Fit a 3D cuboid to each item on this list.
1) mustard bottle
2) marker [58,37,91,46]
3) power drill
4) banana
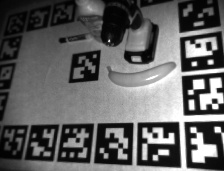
[{"bbox_3d":[-0.045,-0.174,0.608,0.095,0.194,0.058,7,75,23],"label":"mustard bottle"},{"bbox_3d":[-0.129,-0.148,0.731,0.120,0.020,0.019,-3,73,21],"label":"marker"},{"bbox_3d":[0.044,-0.126,0.538,0.057,0.189,0.184,10,74,23],"label":"power drill"},{"bbox_3d":[0.067,-0.013,0.601,0.195,0.039,0.074,3,76,24],"label":"banana"}]
